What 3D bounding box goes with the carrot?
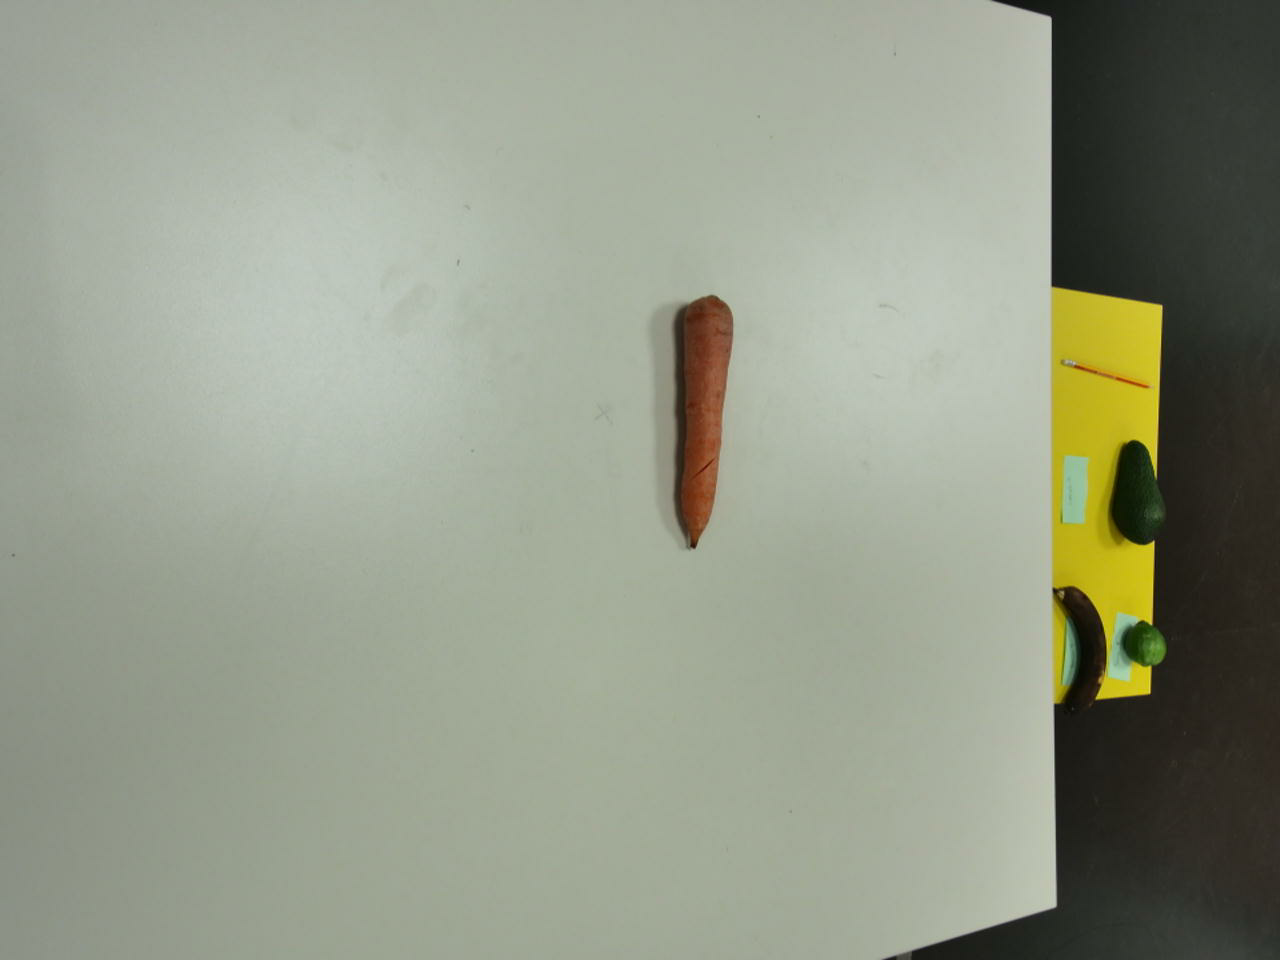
[{"bbox_3d":[0.052,-0.042,0.766,0.039,0.041,0.196,1,91,-29],"label":"carrot"}]
